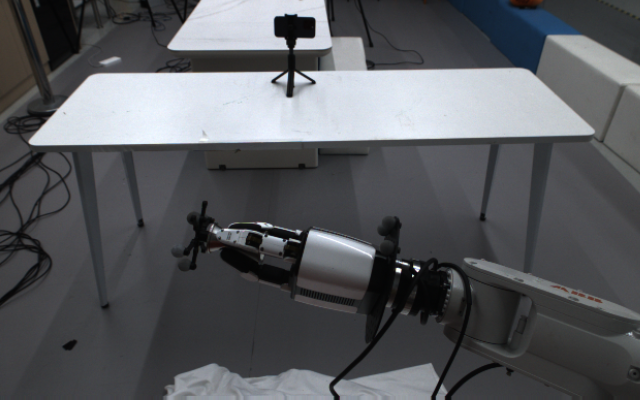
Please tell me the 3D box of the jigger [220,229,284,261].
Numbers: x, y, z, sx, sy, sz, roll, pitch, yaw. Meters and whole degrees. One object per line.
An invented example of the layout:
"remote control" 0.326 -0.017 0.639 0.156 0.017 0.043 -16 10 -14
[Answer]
"jigger" -0.096 0.050 0.607 0.071 0.043 0.043 11 35 3
